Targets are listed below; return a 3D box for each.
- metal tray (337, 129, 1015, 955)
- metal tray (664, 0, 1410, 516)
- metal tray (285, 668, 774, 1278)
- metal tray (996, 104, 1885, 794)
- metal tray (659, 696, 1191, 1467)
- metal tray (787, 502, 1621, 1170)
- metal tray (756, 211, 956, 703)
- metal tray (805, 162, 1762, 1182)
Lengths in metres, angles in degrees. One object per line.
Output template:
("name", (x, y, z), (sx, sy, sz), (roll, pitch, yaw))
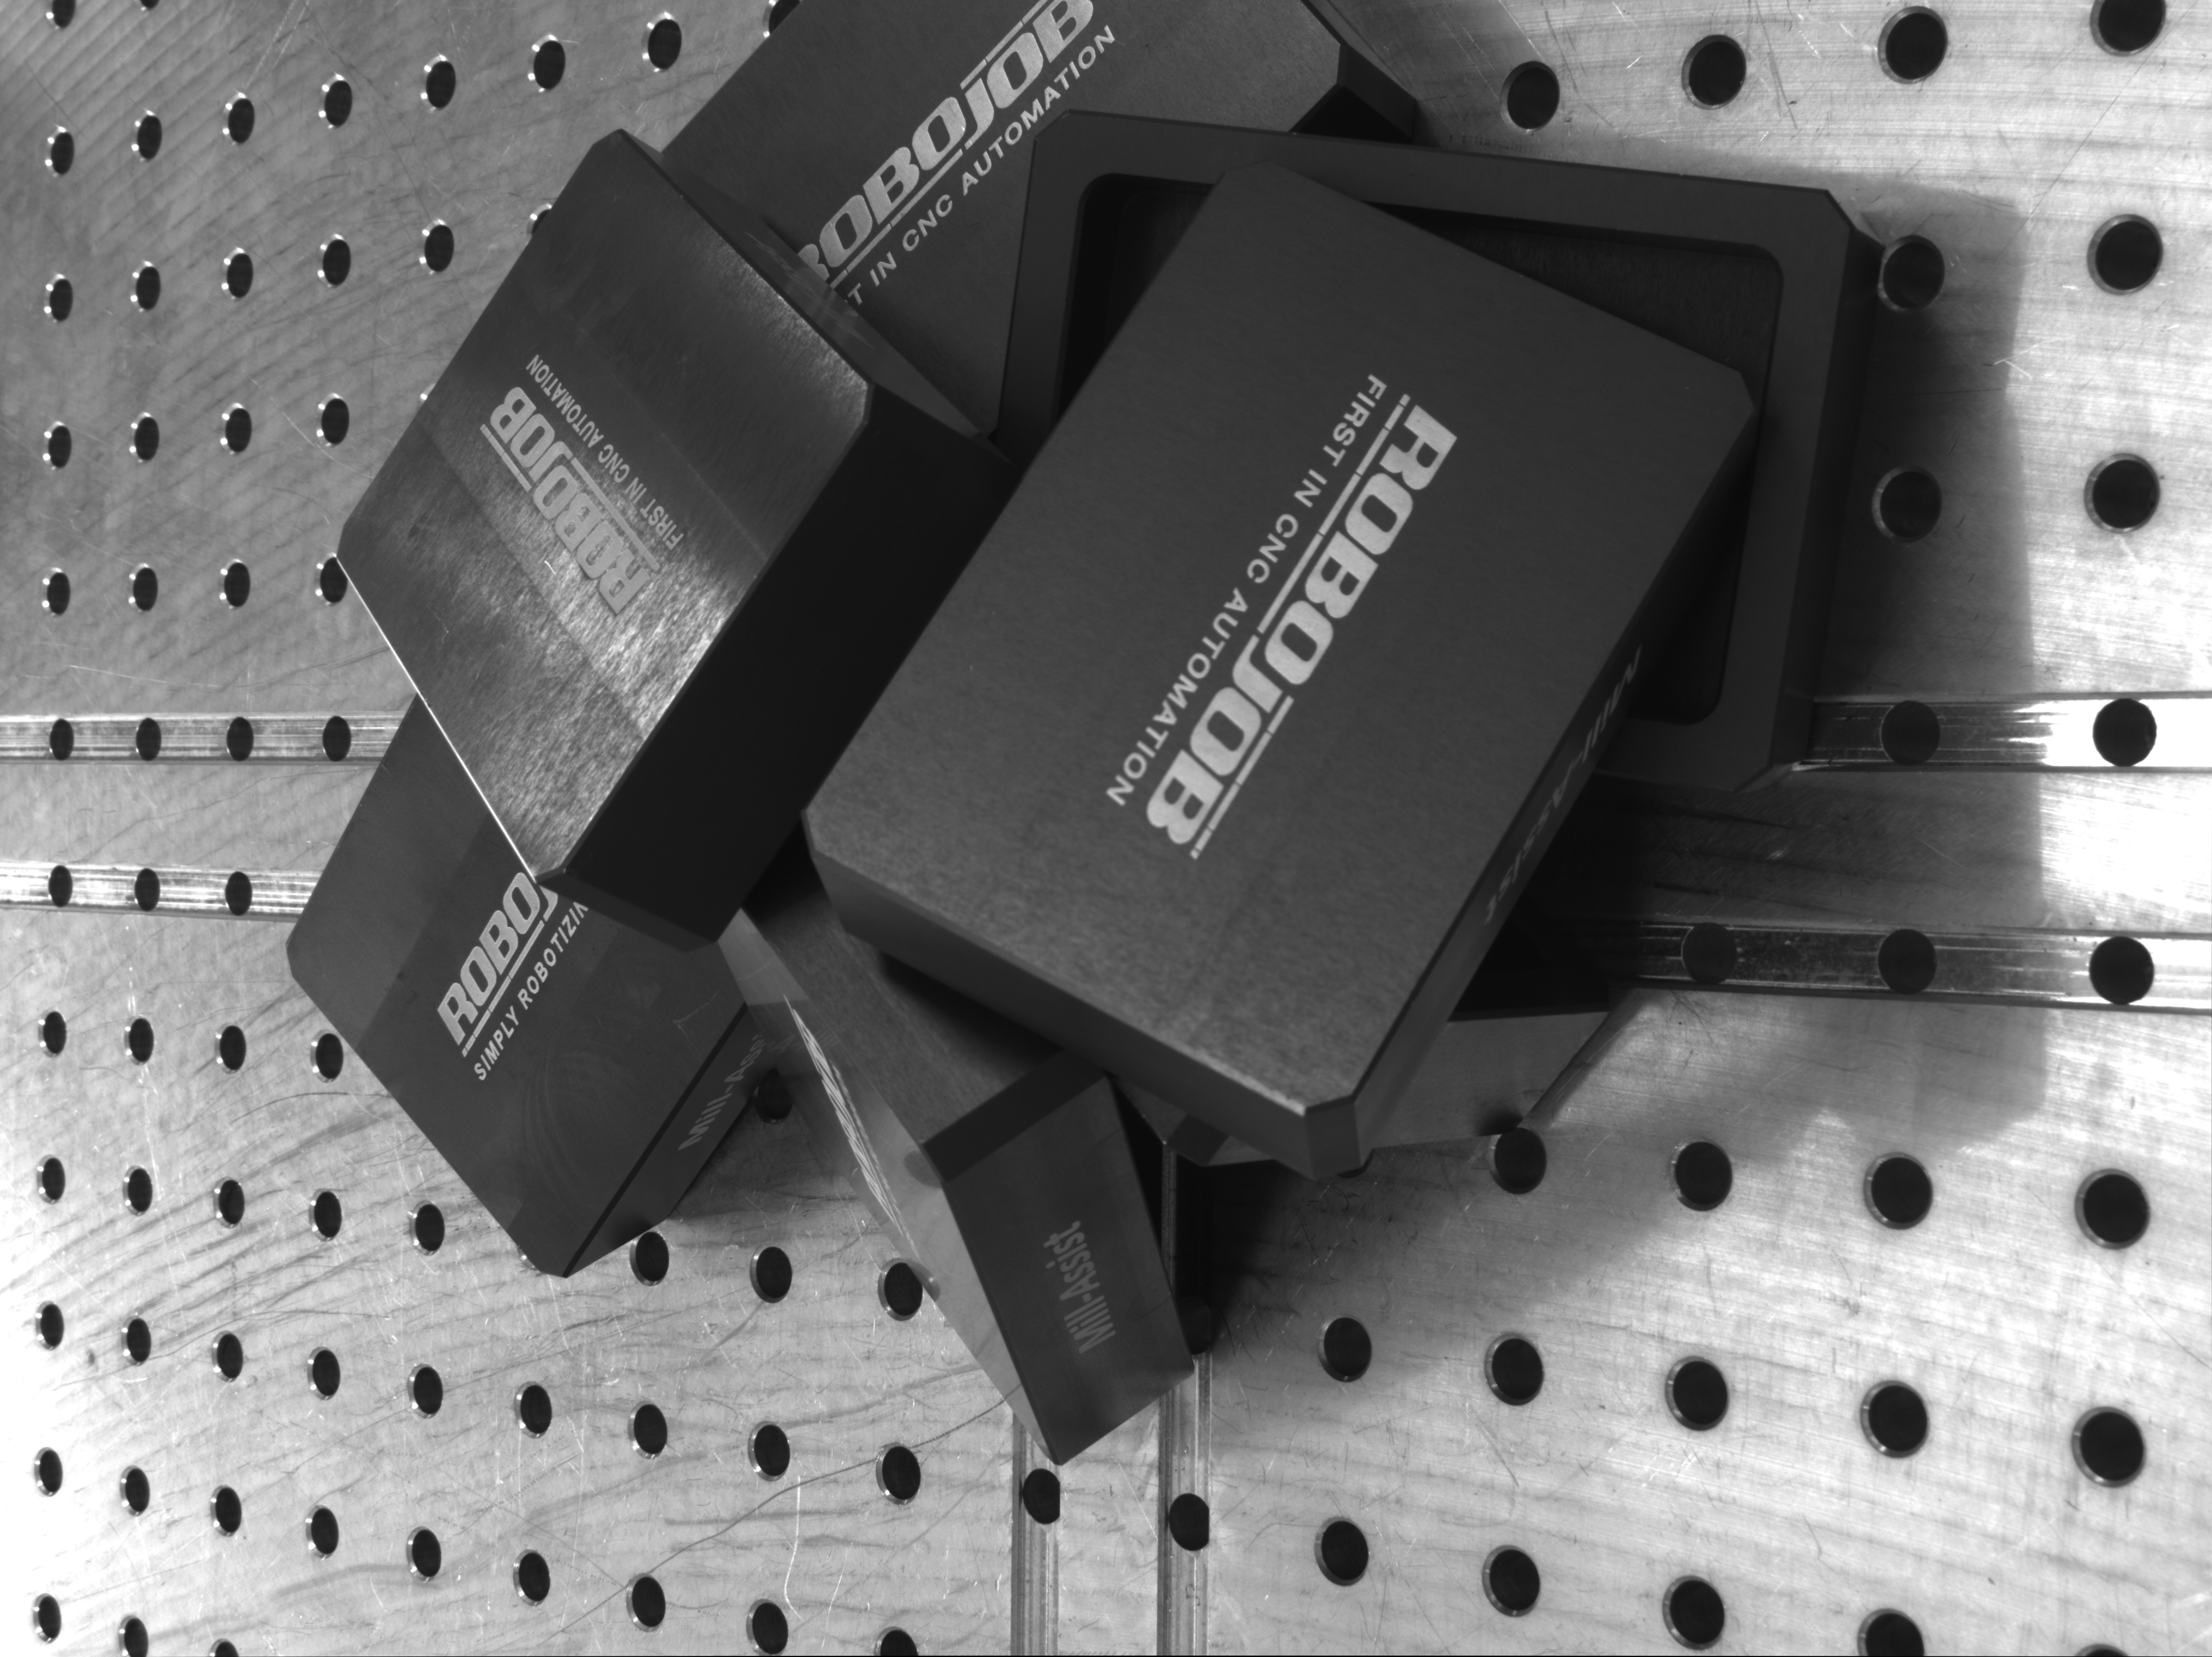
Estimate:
("metal tray", (-0.074, -0.050, 0.592), (0.090, 0.030, 0.130), (-55, 37, 10))
("metal tray", (-0.022, -0.111, 0.640), (0.130, 0.030, 0.090), (-44, 64, 15))
("metal tray", (-0.099, 0.014, 0.700), (0.090, 0.030, 0.130), (47, 131, 12))
("metal tray", (0.049, -0.060, 0.576), (0.130, 0.030, 0.090), (10, 97, 20))
("metal tray", (-0.030, 0.044, 0.613), (0.030, 0.130, 0.090), (-34, 62, -11))
("metal tray", (0.014, -0.005, 0.595), (0.130, 0.090, 0.030), (53, 121, 28))
("metal tray", (-0.068, -0.046, 0.702), (0.090, 0.030, 0.130), (46, 117, 30))
("metal tray", (0.028, -0.025, 0.540), (0.090, 0.030, 0.130), (27, 72, 16))
